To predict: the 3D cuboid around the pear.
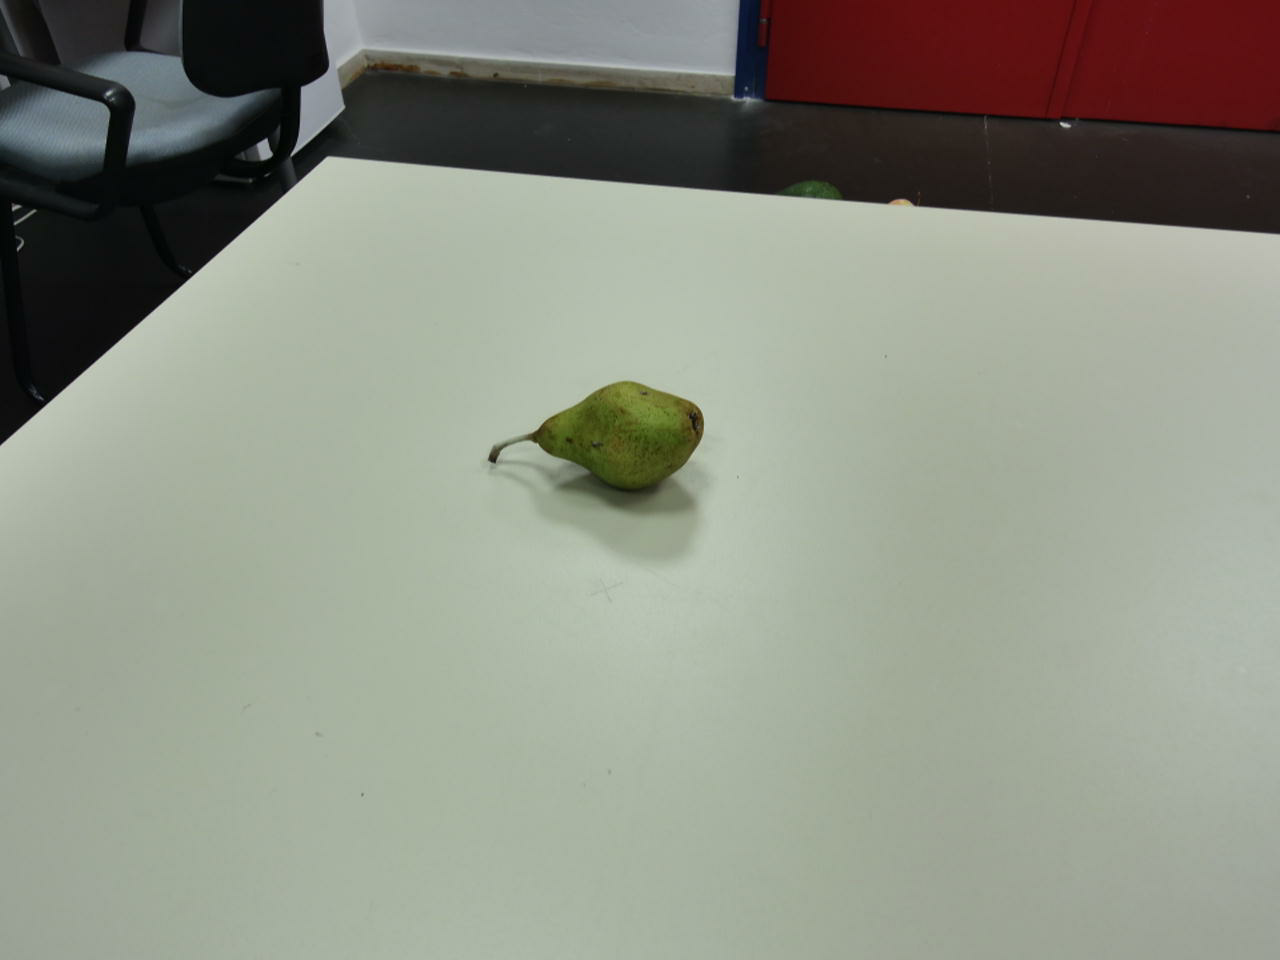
[{"bbox_3d":[-0.021,-0.028,0.523,0.111,0.056,0.056,18,42,22],"label":"pear"}]
